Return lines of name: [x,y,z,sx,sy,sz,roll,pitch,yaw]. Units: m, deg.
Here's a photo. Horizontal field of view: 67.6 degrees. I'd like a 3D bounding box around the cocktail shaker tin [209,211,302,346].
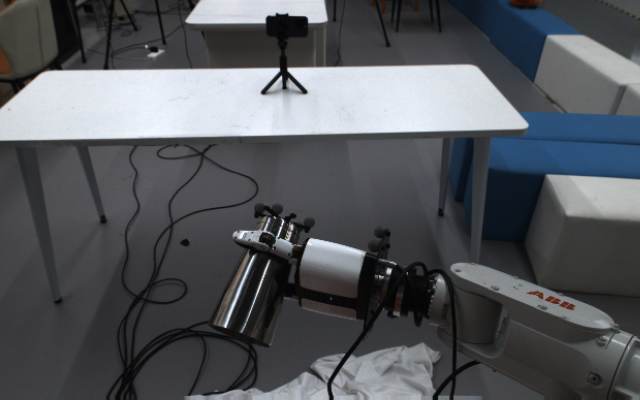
cocktail shaker tin: [-0.083,0.110,0.692,0.093,0.093,0.170,13,65,15]
